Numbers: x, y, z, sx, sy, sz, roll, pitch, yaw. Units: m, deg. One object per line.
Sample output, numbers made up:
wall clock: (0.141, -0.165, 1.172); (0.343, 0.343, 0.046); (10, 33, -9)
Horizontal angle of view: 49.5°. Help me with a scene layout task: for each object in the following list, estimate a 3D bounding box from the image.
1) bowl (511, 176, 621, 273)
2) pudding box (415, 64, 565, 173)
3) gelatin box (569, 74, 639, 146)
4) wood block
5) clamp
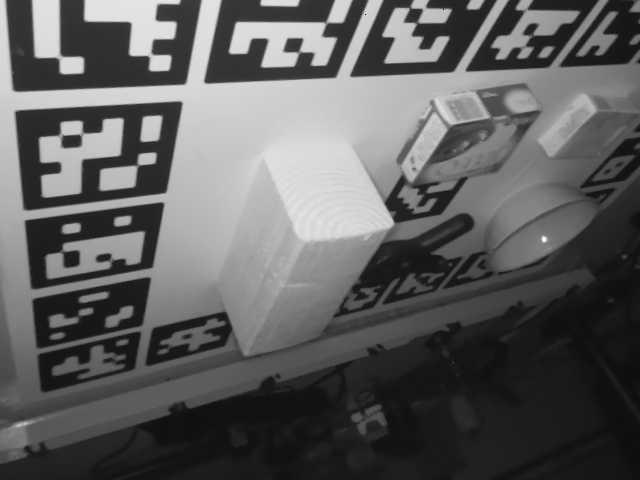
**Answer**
bowl: (0.296, -0.028, 0.854); (0.163, 0.055, 0.160); (-18, 146, -12)
pudding box: (0.152, -0.110, 0.626); (0.115, 0.038, 0.089); (-12, 143, -27)
gelatin box: (0.315, -0.132, 0.720); (0.091, 0.030, 0.072); (-4, 141, -32)
wood block: (-0.011, 0.004, 0.627); (0.091, 0.091, 0.203); (-7, 144, -27)
clamp: (0.136, 0.013, 0.818); (0.167, 0.036, 0.120); (-14, 148, -16)
